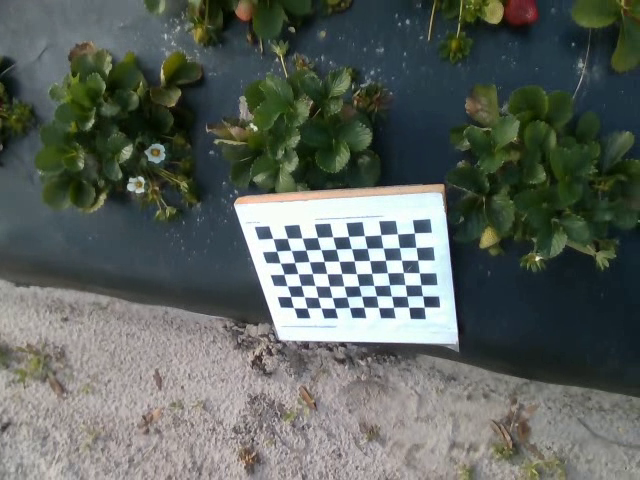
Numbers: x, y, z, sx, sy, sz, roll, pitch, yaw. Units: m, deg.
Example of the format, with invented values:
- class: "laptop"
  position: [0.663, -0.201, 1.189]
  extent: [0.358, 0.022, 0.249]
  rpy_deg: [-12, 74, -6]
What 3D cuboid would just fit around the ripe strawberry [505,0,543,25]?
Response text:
- class: "ripe strawberry"
  position: [0.293, -0.326, 0.905]
  extent: [0.048, 0.055, 0.051]
  rpy_deg: [-1, -42, -30]
